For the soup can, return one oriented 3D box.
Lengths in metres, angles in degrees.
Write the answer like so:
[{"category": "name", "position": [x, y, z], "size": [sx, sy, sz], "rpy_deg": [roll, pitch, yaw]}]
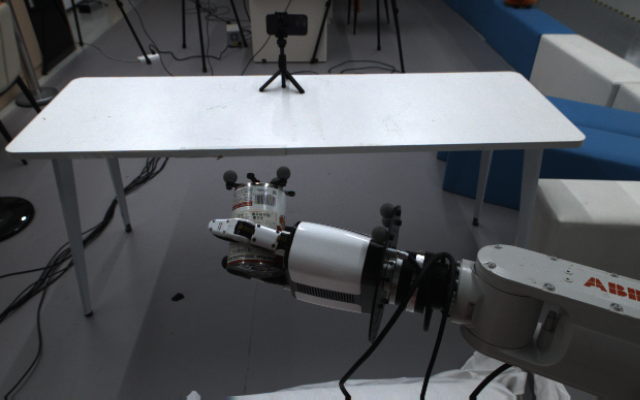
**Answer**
[{"category": "soup can", "position": [-0.074, 0.038, 0.585], "size": [0.067, 0.067, 0.101], "rpy_deg": [1, 68, -1]}]
